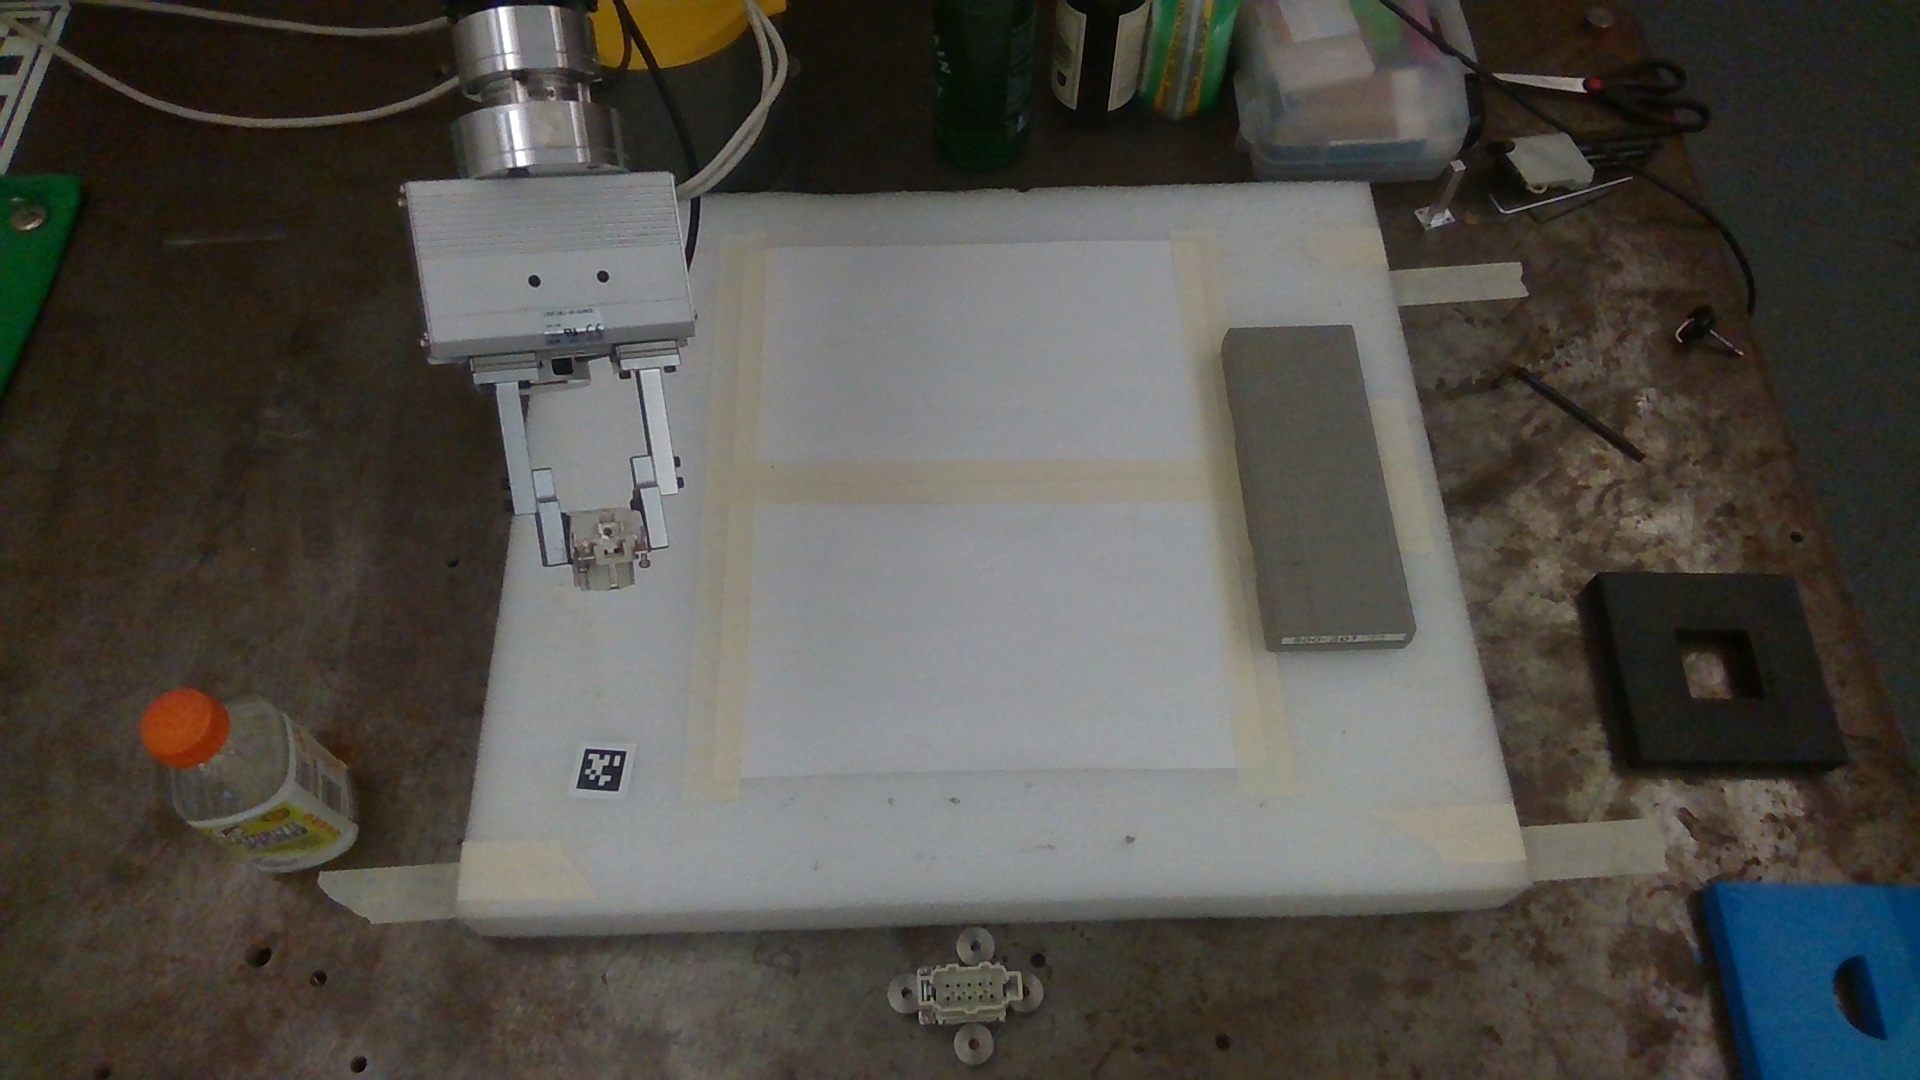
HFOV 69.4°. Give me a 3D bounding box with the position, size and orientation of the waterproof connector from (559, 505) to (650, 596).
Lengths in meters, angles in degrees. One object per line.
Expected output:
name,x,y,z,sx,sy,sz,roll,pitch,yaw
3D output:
waterproof connector,-0.174,0.005,0.675,0.036,0.069,0.038,-9,98,-20
